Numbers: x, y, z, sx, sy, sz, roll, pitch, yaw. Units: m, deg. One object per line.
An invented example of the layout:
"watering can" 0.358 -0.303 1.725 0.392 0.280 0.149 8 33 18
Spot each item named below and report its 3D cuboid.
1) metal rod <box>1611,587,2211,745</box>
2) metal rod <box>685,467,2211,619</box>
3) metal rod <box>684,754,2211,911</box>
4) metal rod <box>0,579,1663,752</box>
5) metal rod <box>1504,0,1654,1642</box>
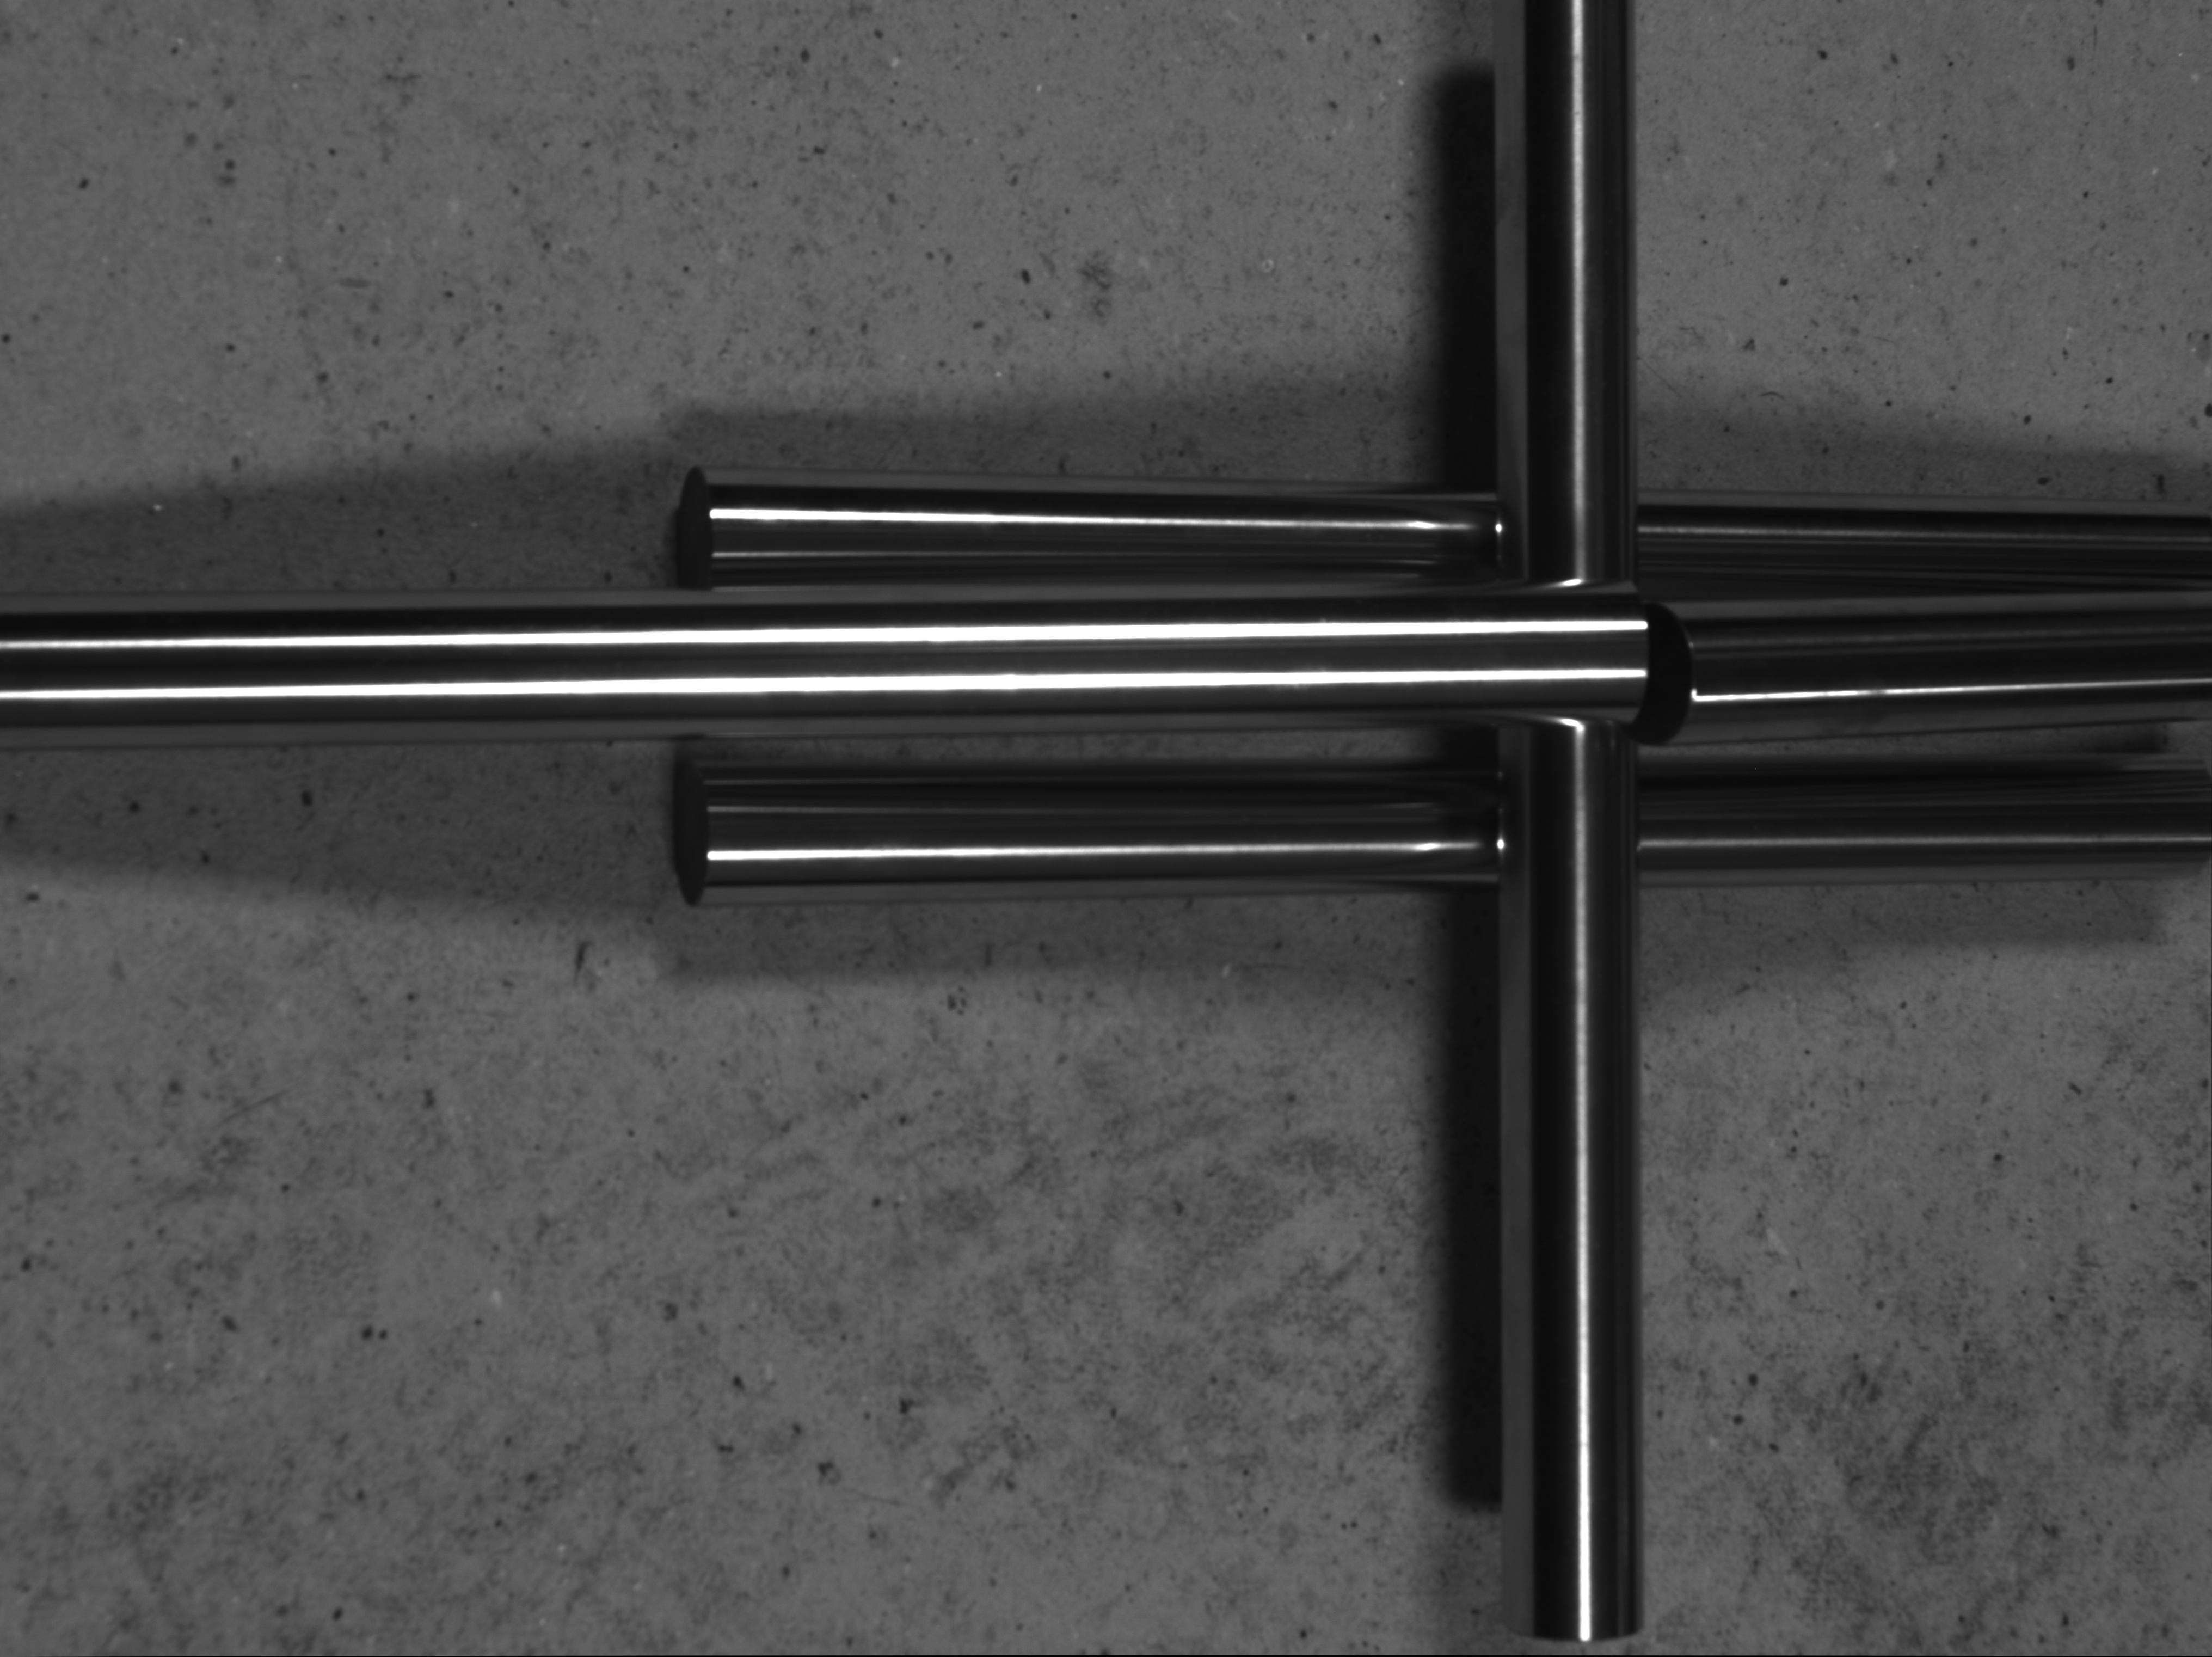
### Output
"metal rod" 0.224 -0.034 0.698 0.301 0.025 0.025 -3 91 -30
"metal rod" 0.073 -0.050 0.669 0.301 0.025 0.025 -1 90 -20
"metal rod" 0.073 0.000 0.669 0.301 0.025 0.025 -1 90 -20
"metal rod" -0.057 -0.027 0.596 0.300 0.025 0.025 -1 90 -10
"metal rod" 0.084 -0.009 0.647 0.025 0.025 0.300 0 90 -20
